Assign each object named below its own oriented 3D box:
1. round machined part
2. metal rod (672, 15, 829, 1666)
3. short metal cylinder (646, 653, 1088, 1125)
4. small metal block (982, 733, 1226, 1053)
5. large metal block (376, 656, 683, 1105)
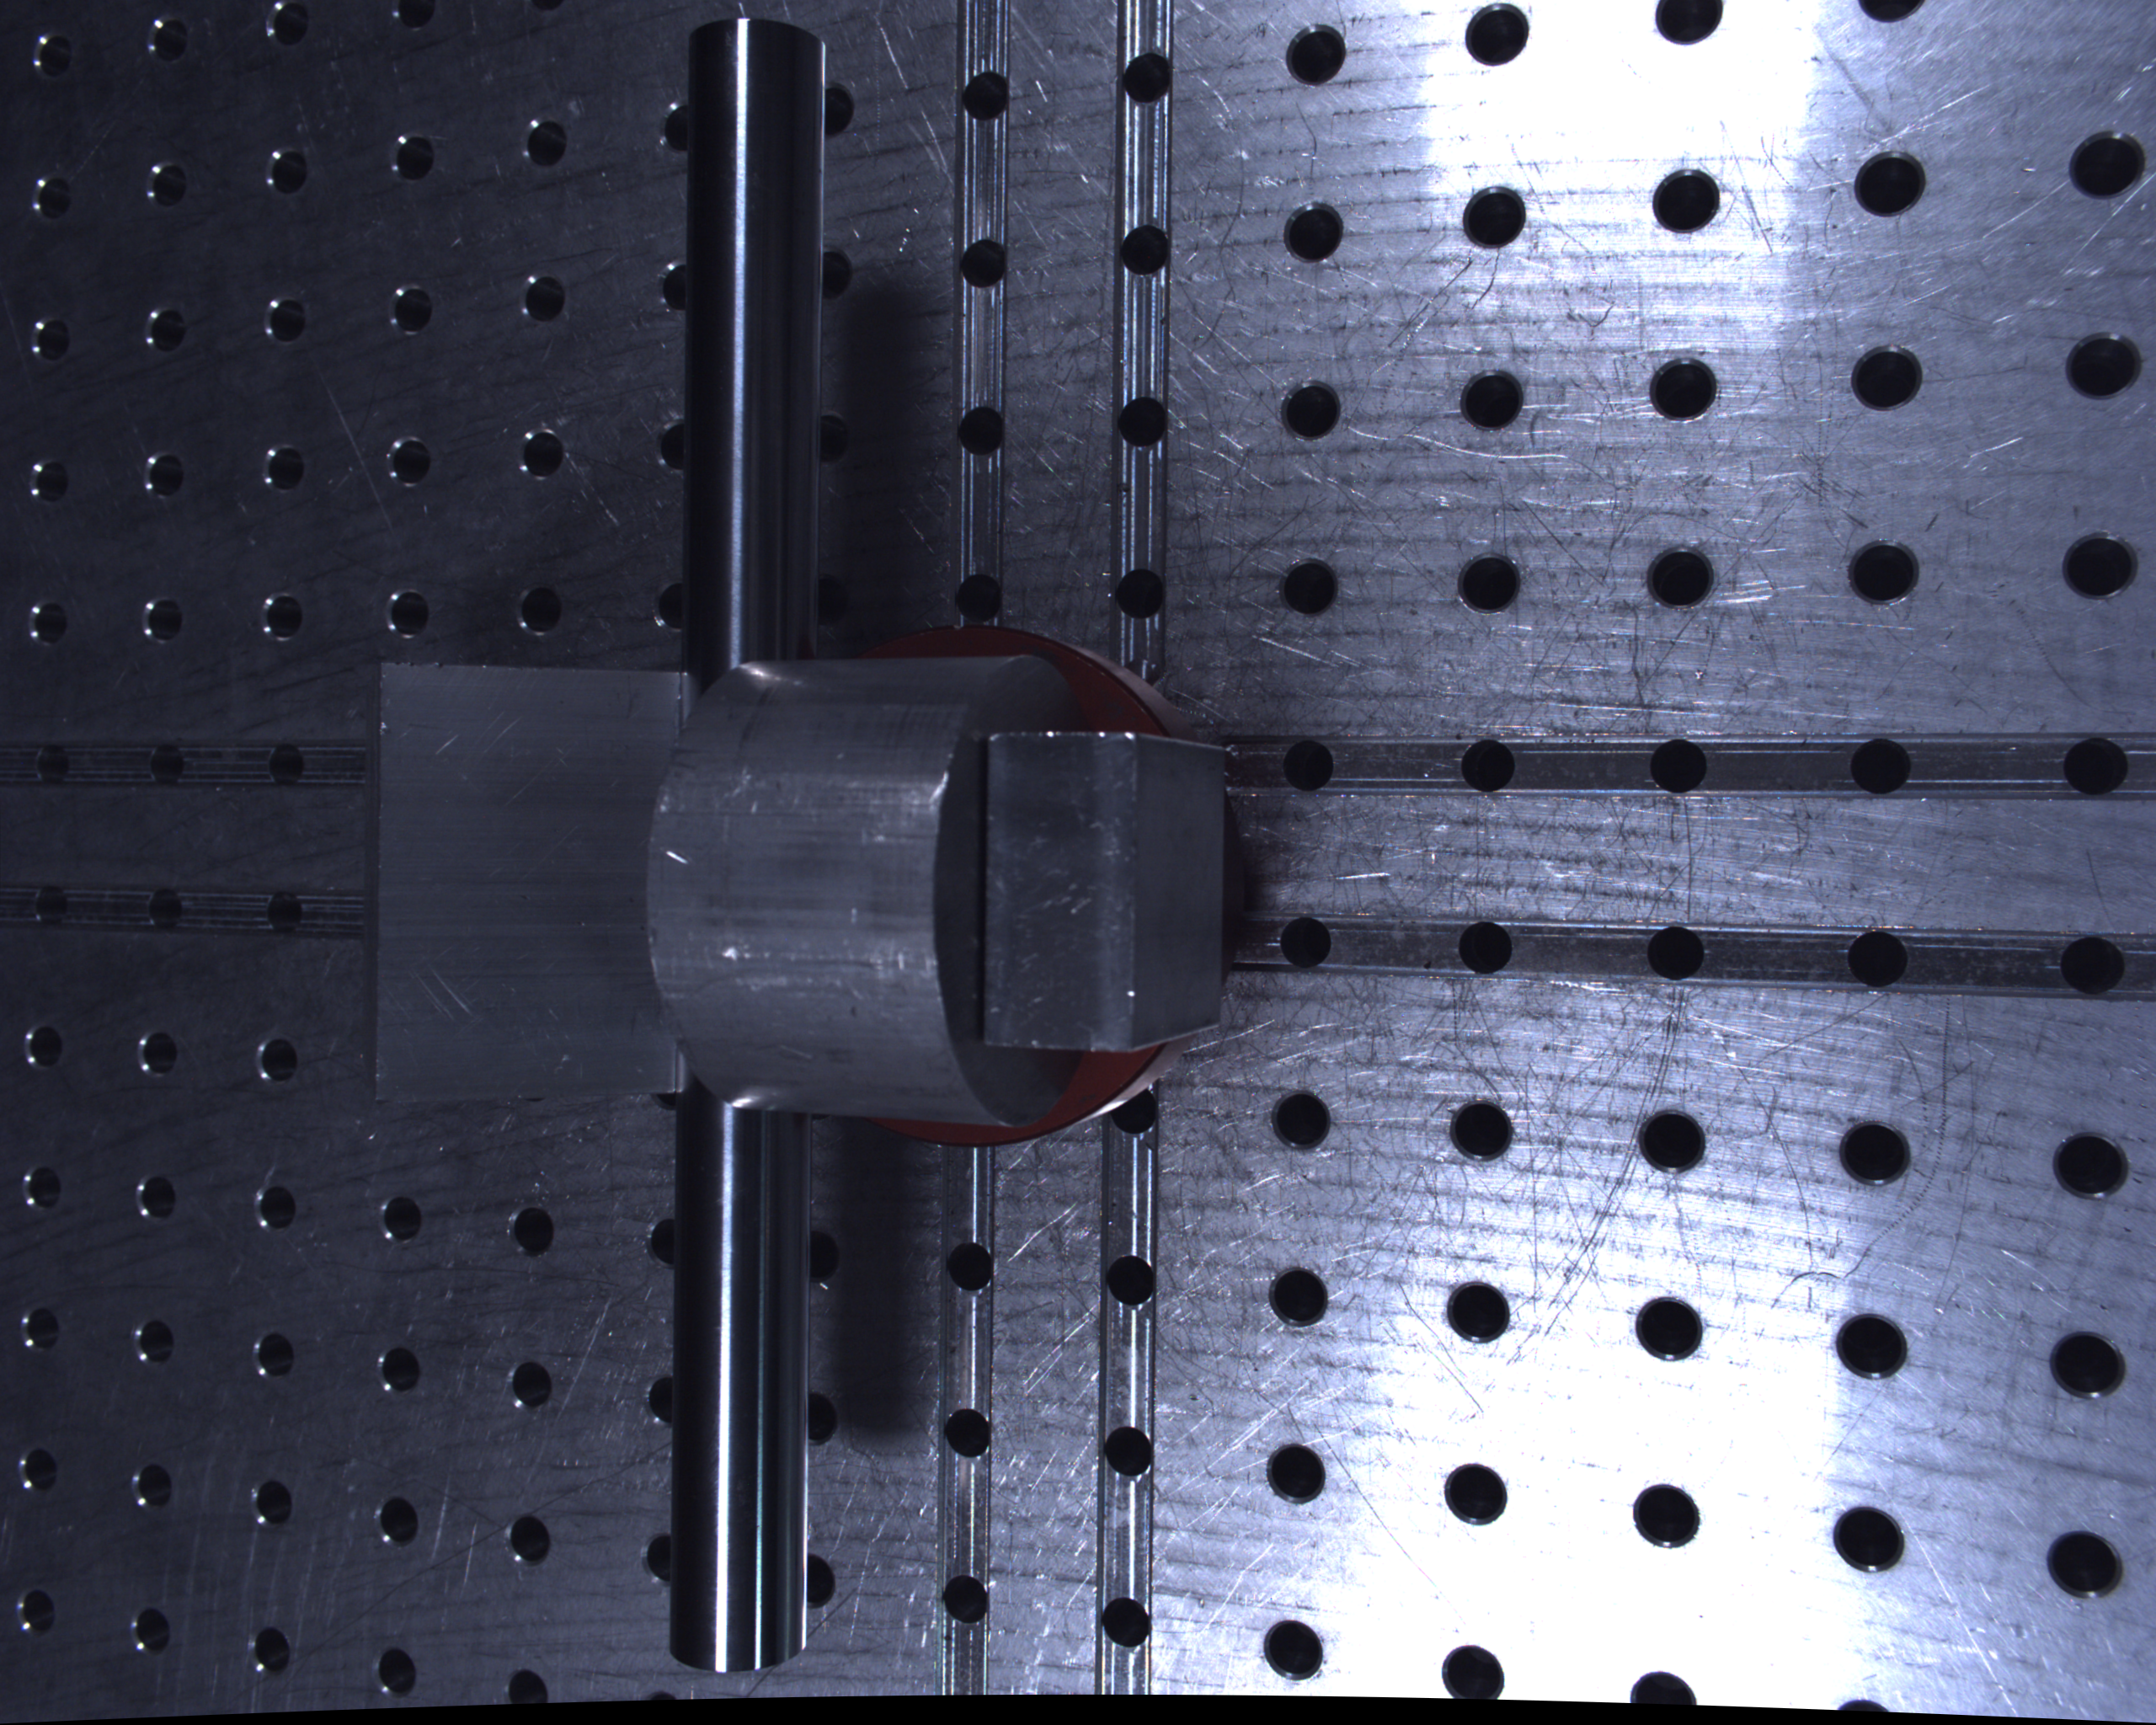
[{"bbox_3d":[-0.015,0.004,0.407,0.098,0.042,0.097,0,90,19],"label":"round machined part"},{"bbox_3d":[-0.061,-0.004,0.389,0.025,0.025,0.298,1,90,19],"label":"metal rod"},{"bbox_3d":[-0.032,0.004,0.361,0.050,0.080,0.079,1,90,20],"label":"short metal cylinder"},{"bbox_3d":[0.006,0.004,0.352,0.025,0.050,0.050,1,91,20],"label":"small metal block"},{"bbox_3d":[-0.111,0.003,0.415,0.050,0.080,0.079,1,90,-21],"label":"large metal block"}]
